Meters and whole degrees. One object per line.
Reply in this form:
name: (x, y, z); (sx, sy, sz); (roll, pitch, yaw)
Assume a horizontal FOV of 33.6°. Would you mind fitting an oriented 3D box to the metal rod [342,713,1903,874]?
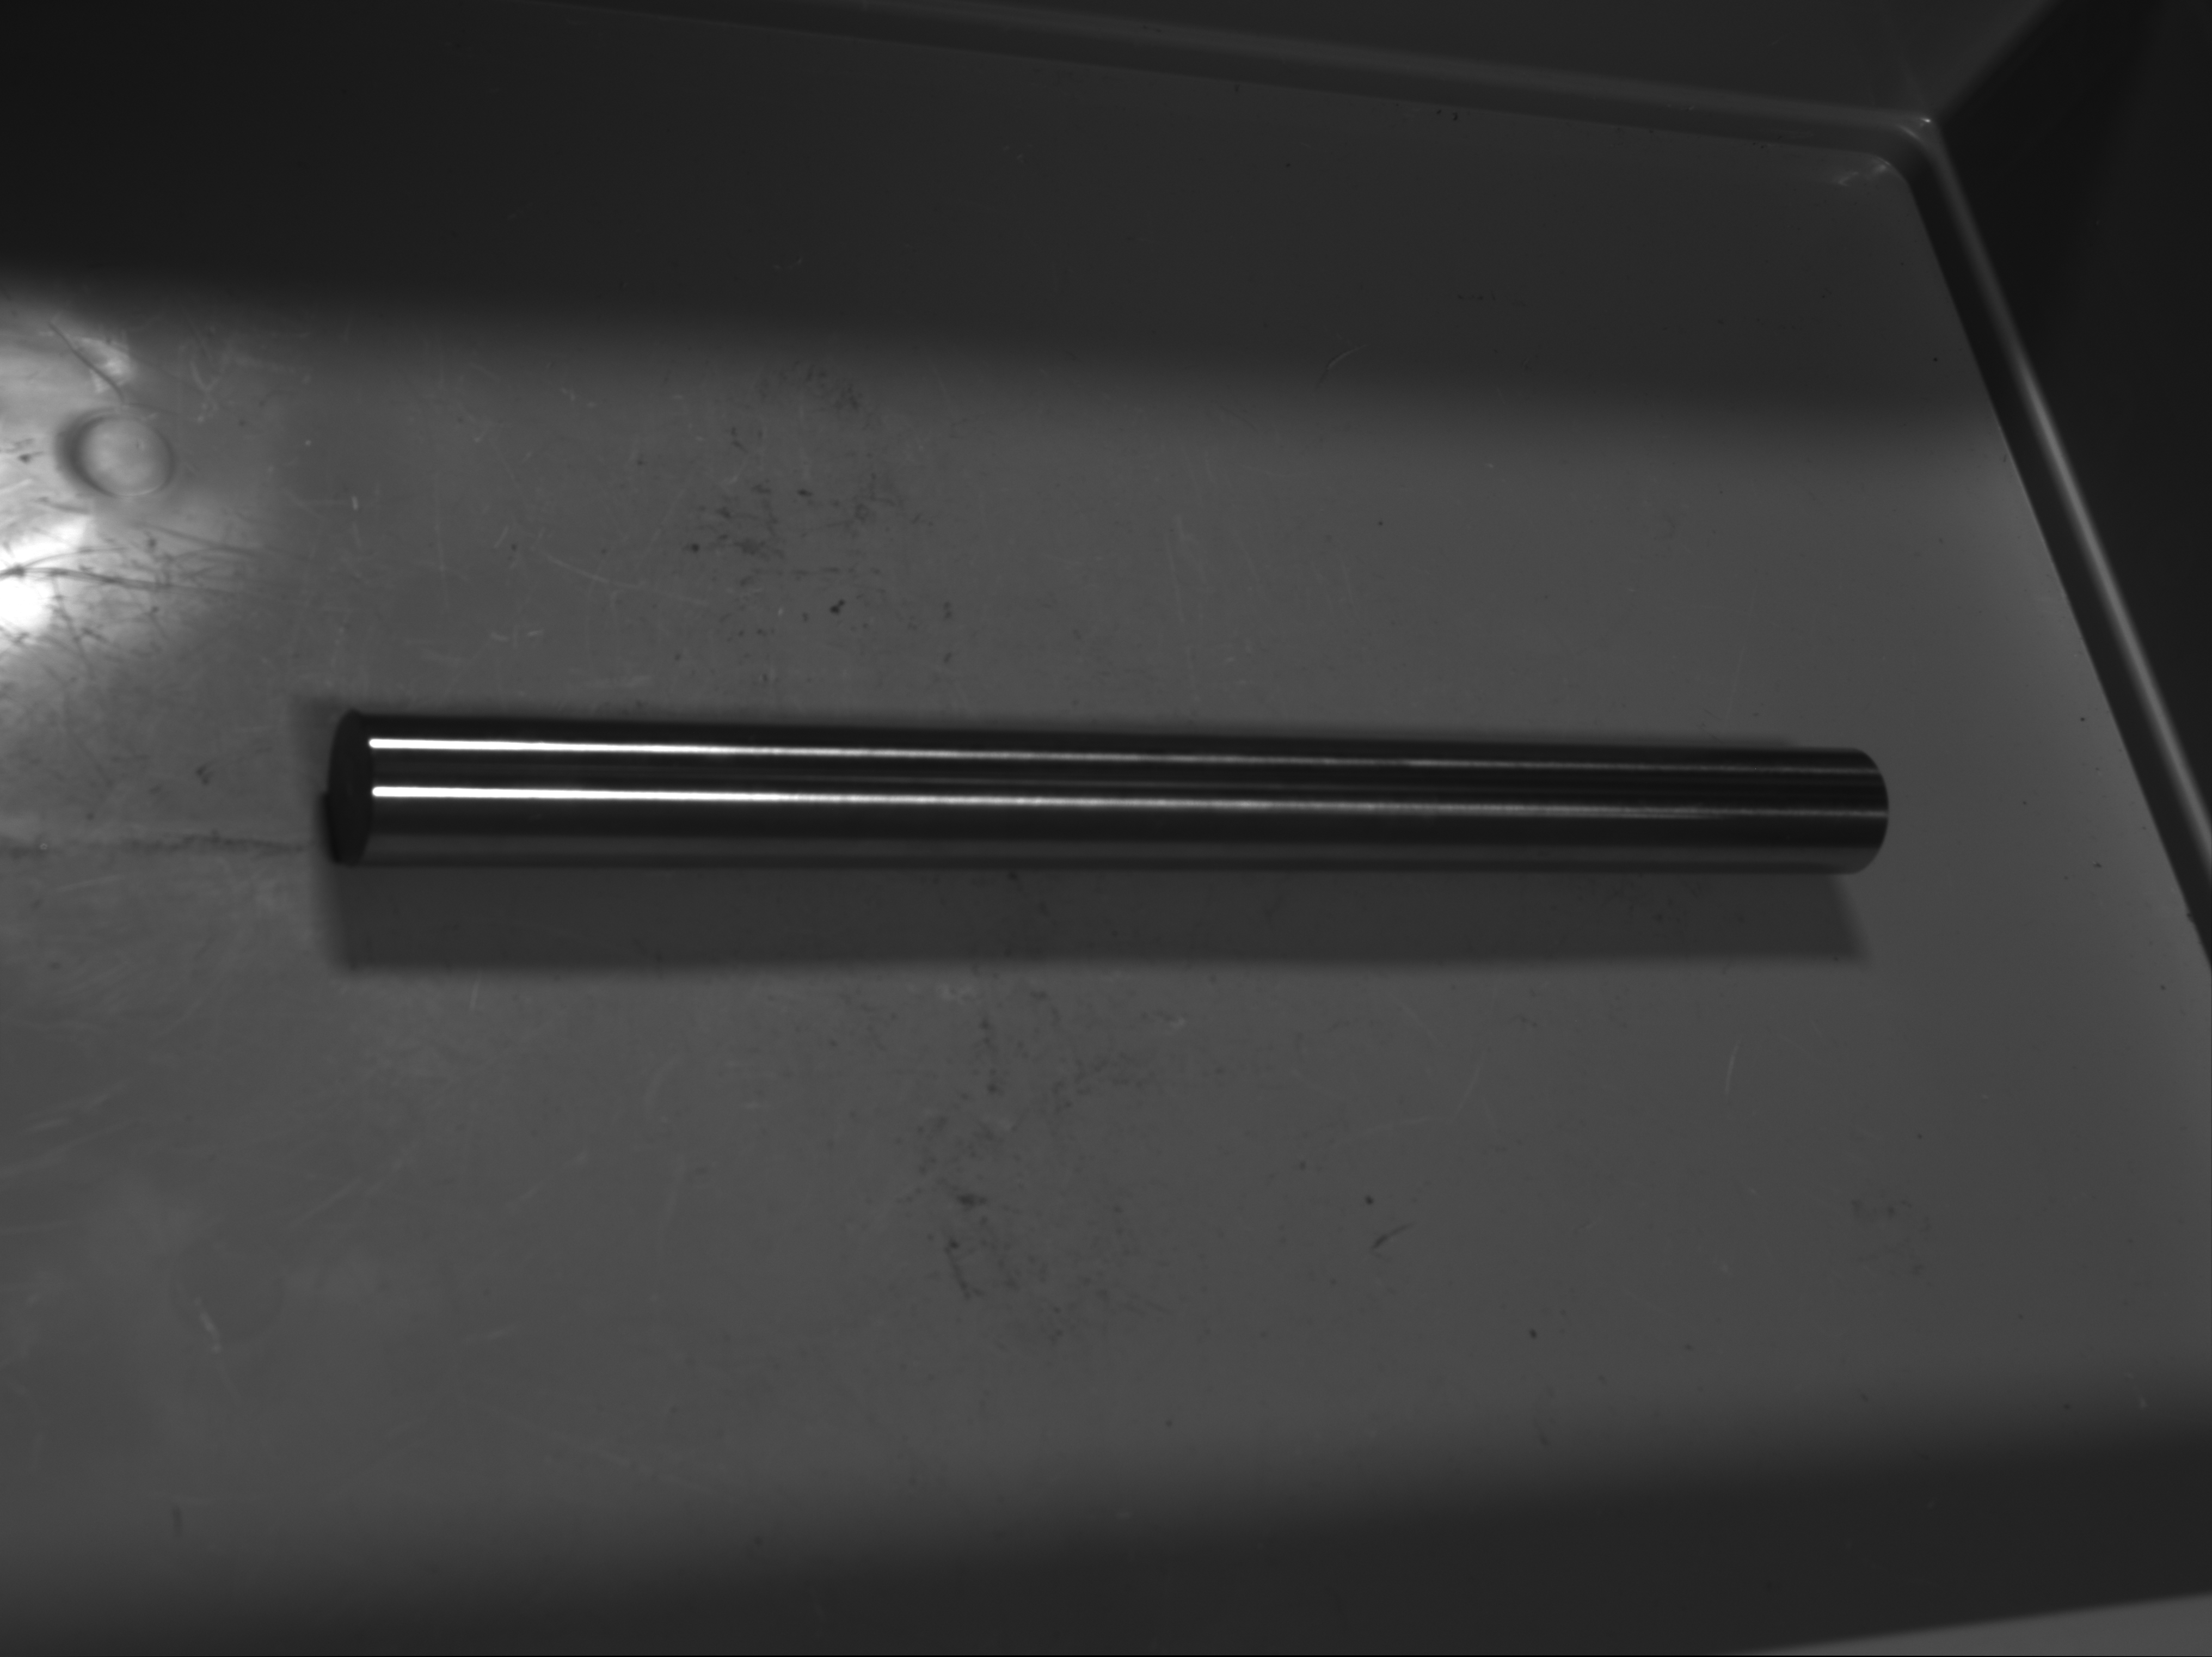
metal rod: (0.016, -0.005, 0.649); (0.301, 0.025, 0.025); (1, 61, -28)
